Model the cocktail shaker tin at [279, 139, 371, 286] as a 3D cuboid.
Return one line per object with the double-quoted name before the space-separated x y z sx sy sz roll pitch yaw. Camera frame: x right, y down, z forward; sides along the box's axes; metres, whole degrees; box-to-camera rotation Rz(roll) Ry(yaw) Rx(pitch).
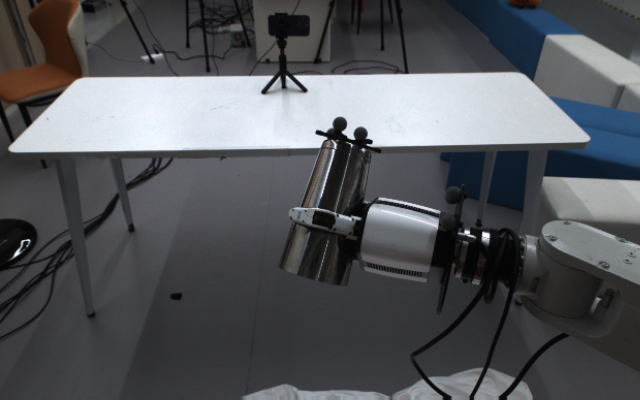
"cocktail shaker tin" 0.014 0.015 0.618 0.093 0.170 0.093 15 -4 1
